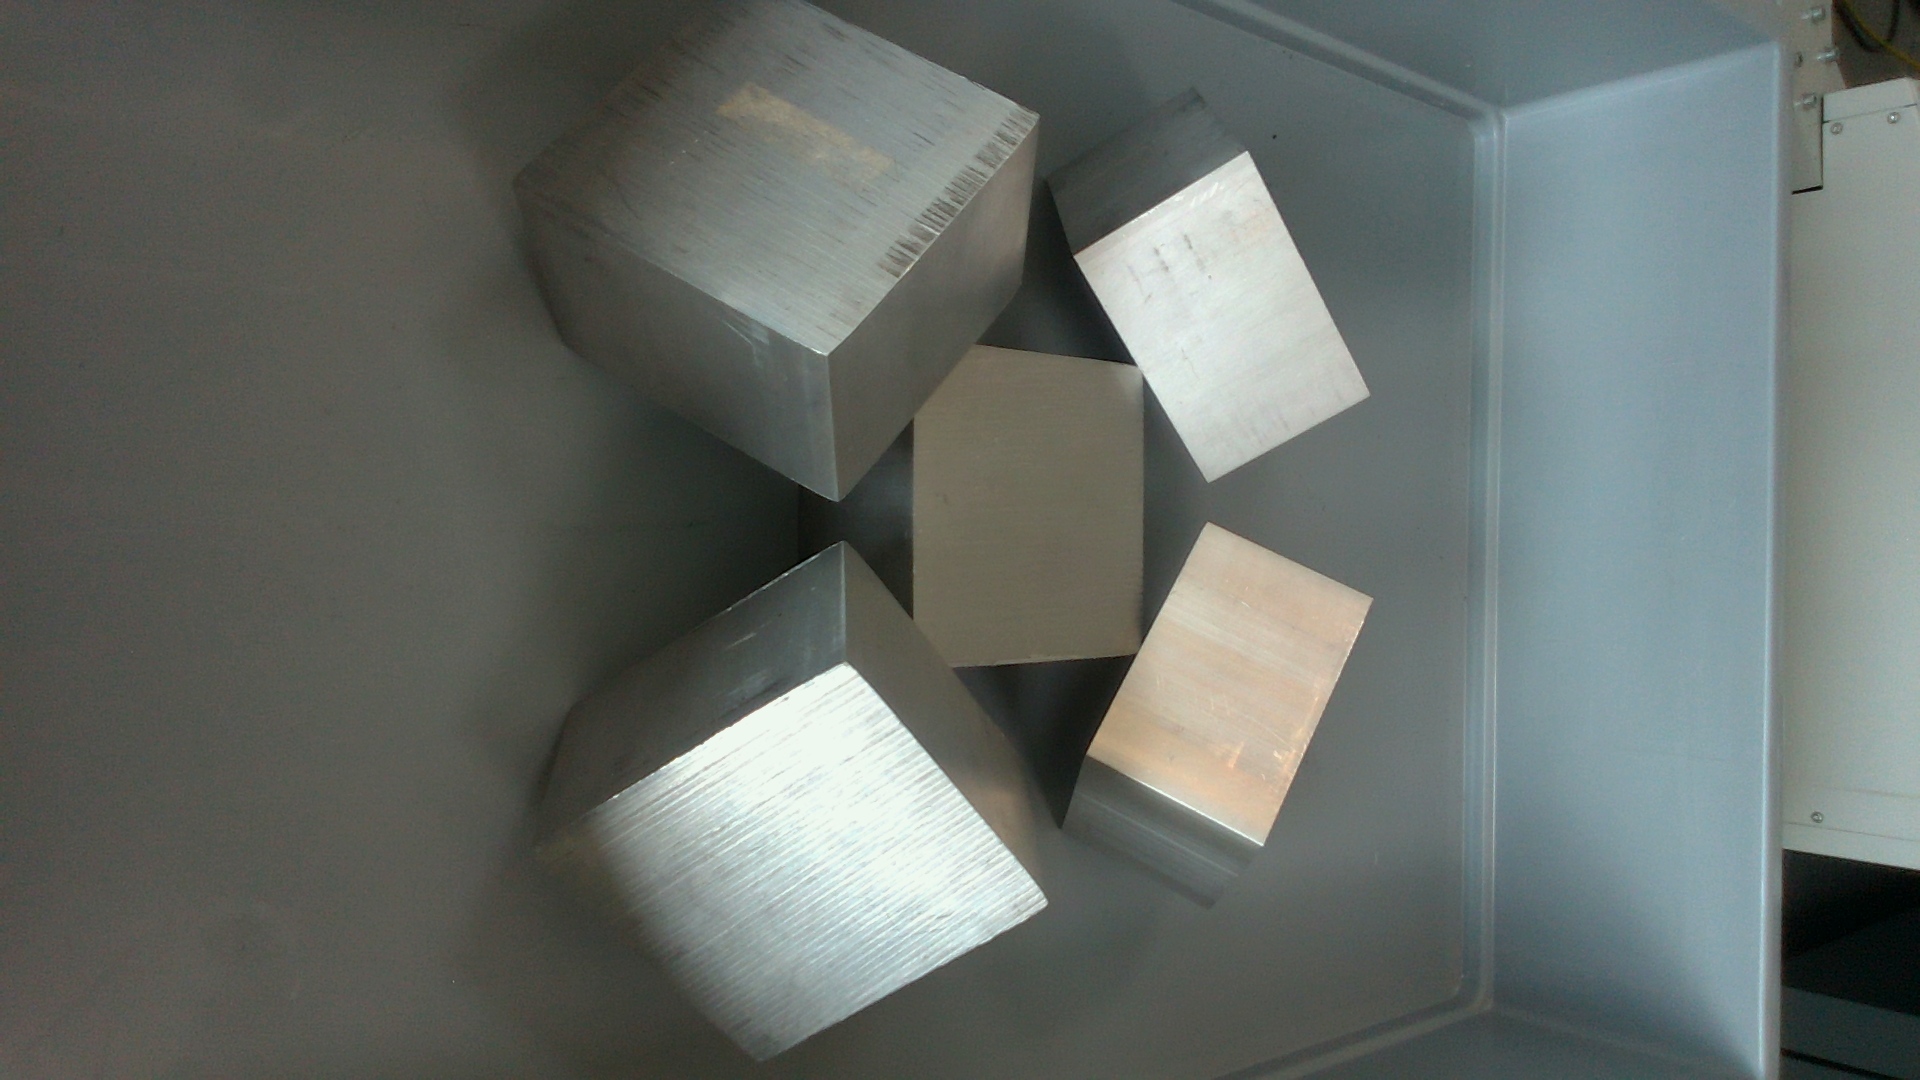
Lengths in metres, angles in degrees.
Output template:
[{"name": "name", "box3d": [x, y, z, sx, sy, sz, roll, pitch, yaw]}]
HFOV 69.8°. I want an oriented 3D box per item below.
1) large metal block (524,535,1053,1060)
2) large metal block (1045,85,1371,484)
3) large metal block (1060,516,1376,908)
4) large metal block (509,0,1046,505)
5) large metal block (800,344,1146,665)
[{"name": "large metal block", "box3d": [-0.036, 0.060, 0.314, 0.080, 0.050, 0.080, -31, 117, 12]}, {"name": "large metal block", "box3d": [0.070, -0.077, 0.402, 0.080, 0.050, 0.080, 54, 16, -25]}, {"name": "large metal block", "box3d": [0.073, 0.053, 0.404, 0.080, 0.050, 0.080, -59, 168, -24]}, {"name": "large metal block", "box3d": [-0.037, -0.068, 0.310, 0.080, 0.080, 0.050, -53, 164, -27]}, {"name": "large metal block", "box3d": [0.004, -0.009, 0.373, 0.080, 0.050, 0.080, 1, 89, -40]}]
